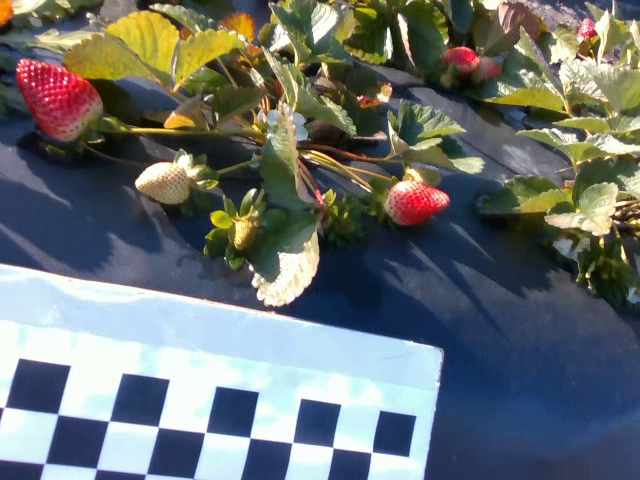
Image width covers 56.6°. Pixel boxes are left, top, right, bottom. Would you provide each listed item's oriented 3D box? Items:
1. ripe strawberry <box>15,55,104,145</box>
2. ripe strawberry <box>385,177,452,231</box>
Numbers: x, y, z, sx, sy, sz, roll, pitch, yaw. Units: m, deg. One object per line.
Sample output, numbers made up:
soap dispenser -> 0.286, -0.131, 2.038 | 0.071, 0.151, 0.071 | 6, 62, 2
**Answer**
ripe strawberry -> -0.138, -0.076, 0.311 | 0.053, 0.044, 0.036 | 42, -15, -17
ripe strawberry -> 0.059, -0.022, 0.357 | 0.045, 0.037, 0.042 | -10, -5, 43
